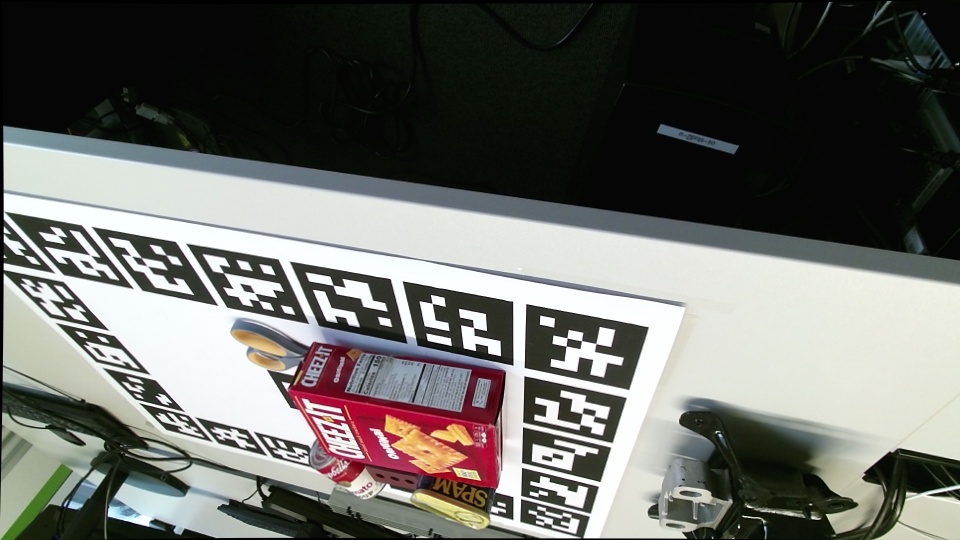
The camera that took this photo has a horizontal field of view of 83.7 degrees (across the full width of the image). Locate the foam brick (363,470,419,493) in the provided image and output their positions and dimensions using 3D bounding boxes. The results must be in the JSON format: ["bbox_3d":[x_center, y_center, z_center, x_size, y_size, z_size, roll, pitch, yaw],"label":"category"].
[{"bbox_3d":[-0.113,0.265,0.734,0.078,0.051,0.053,2,132,19],"label":"foam brick"}]

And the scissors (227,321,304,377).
[{"bbox_3d":[-0.188,0.100,0.608,0.203,0.016,0.088,6,134,15],"label":"scissors"}]

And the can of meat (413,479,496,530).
[{"bbox_3d":[-0.027,0.270,0.679,0.102,0.083,0.058,20,136,2],"label":"can of meat"}]

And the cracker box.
[{"bbox_3d":[-0.083,0.165,0.587,0.214,0.071,0.164,3,135,13],"label":"cracker box"}]

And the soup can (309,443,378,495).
[{"bbox_3d":[-0.192,0.272,0.770,0.068,0.067,0.102,-23,127,36],"label":"soup can"}]
